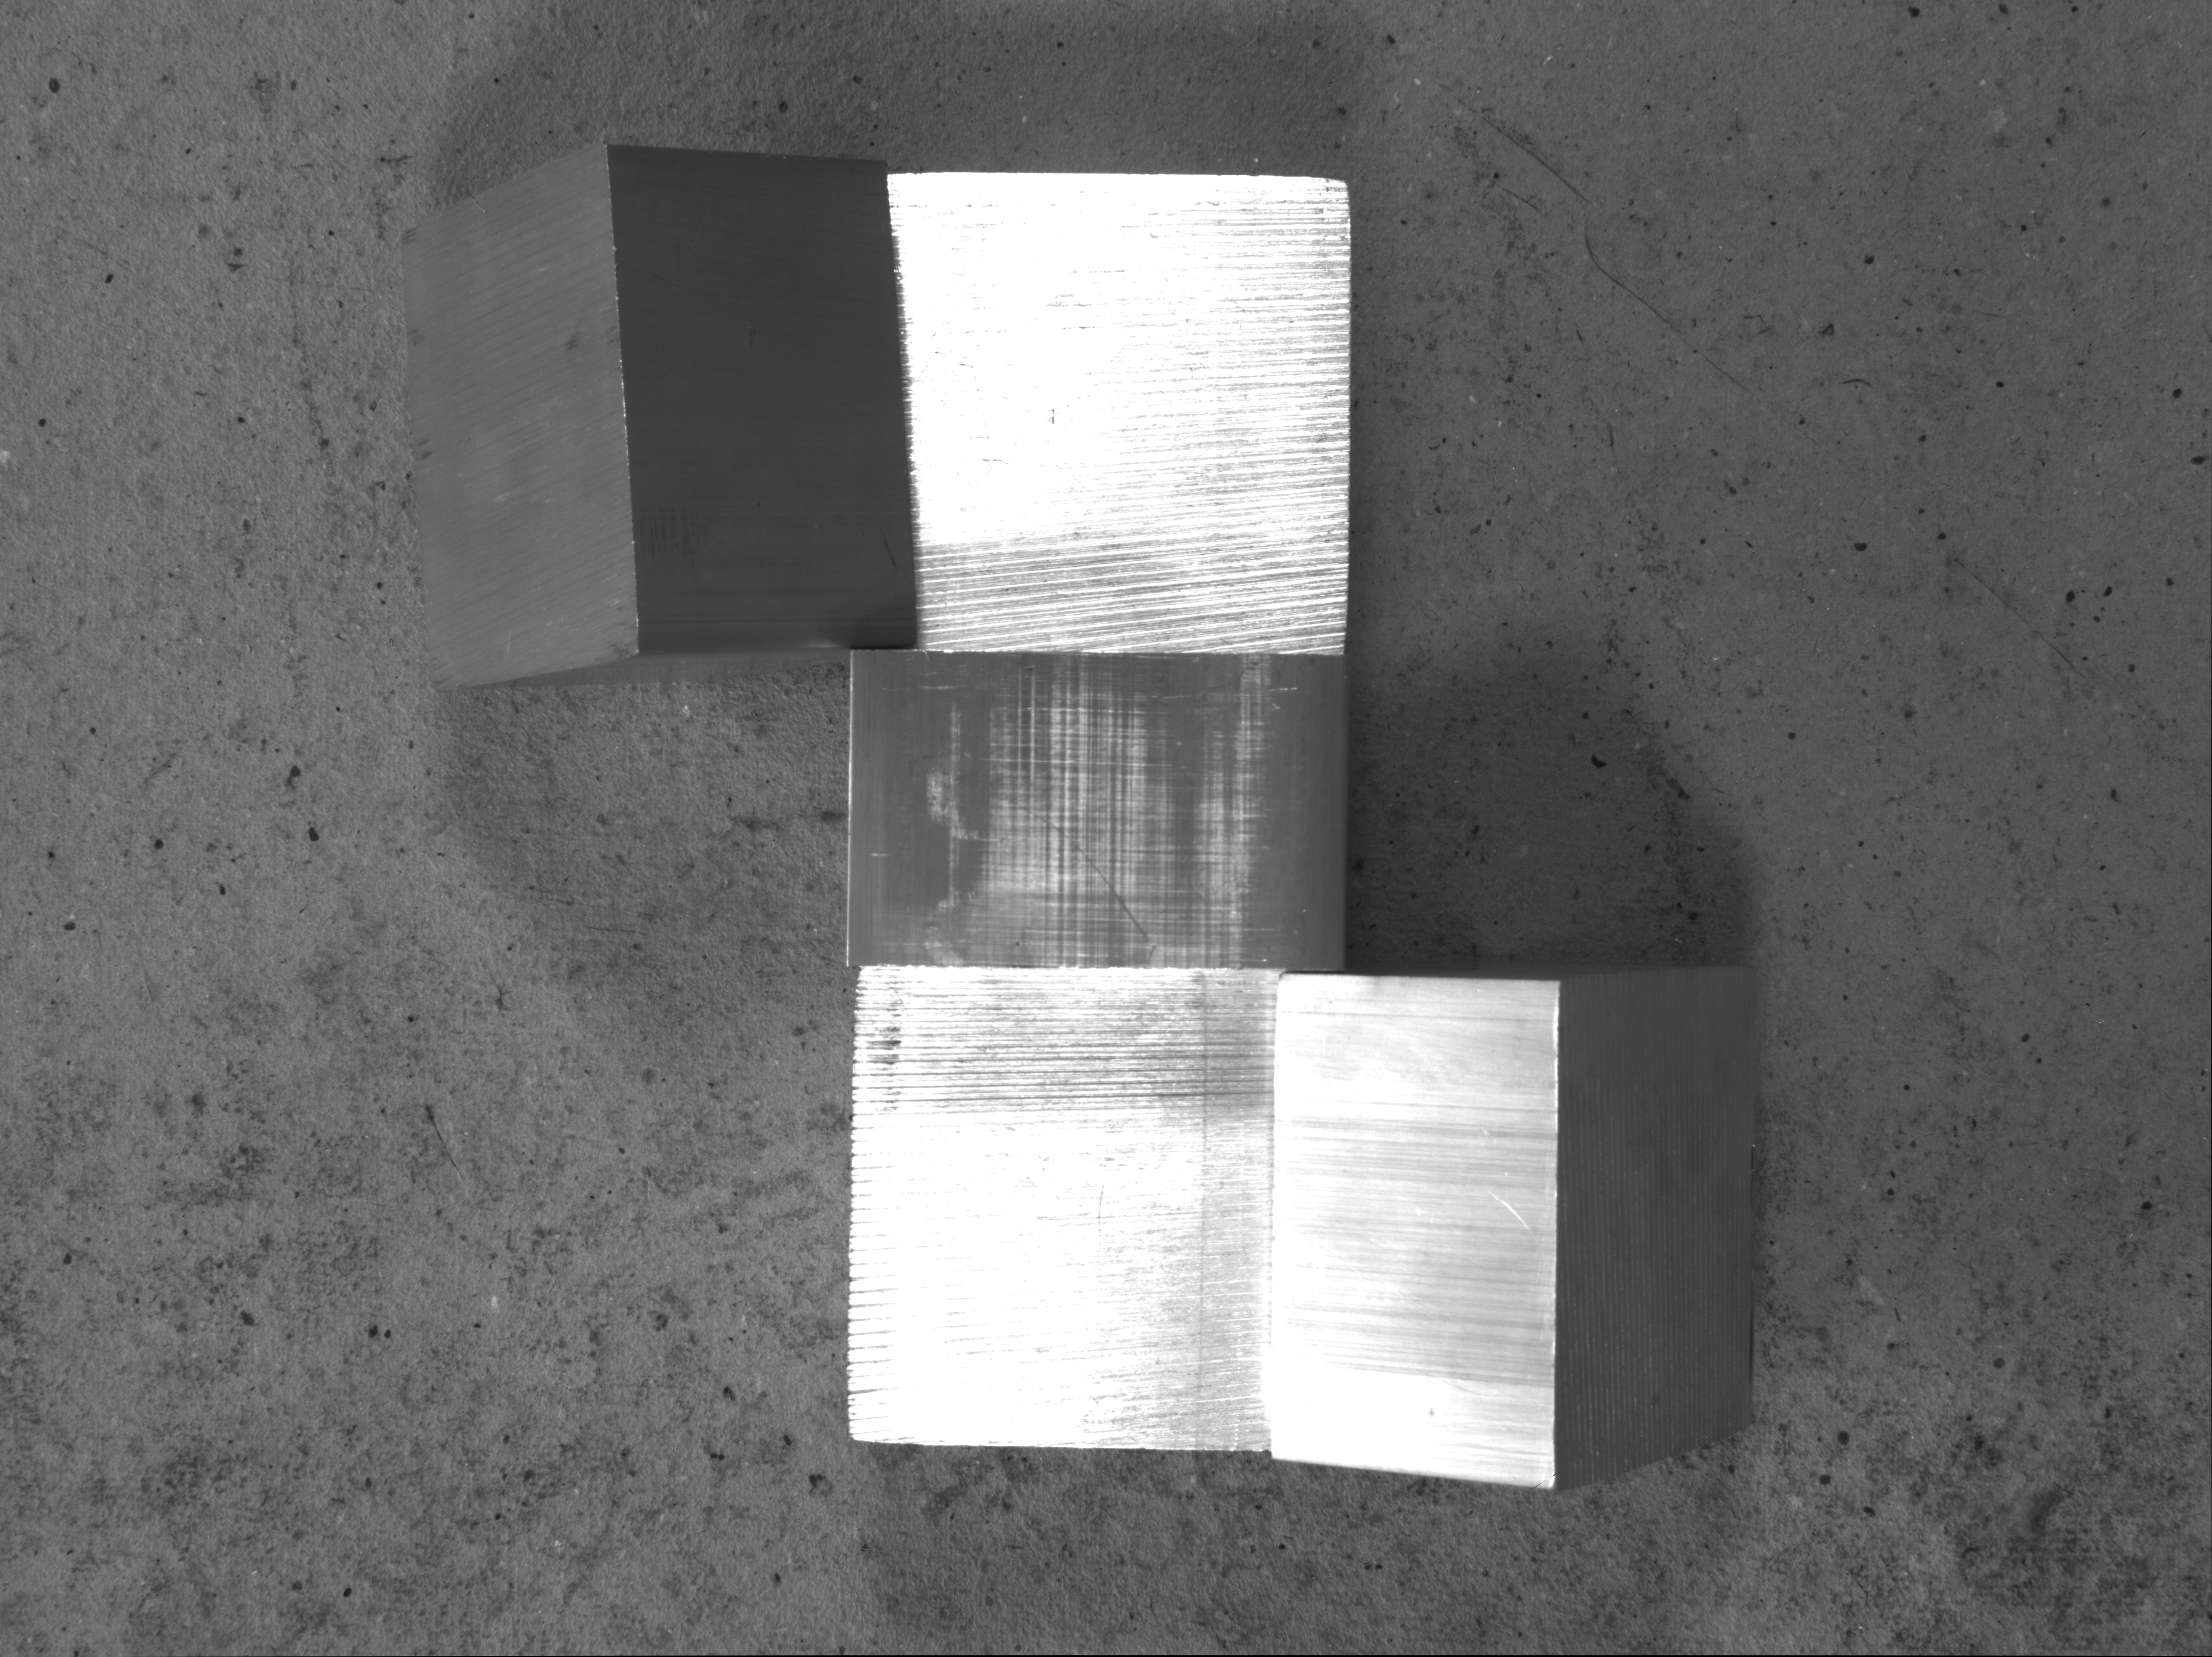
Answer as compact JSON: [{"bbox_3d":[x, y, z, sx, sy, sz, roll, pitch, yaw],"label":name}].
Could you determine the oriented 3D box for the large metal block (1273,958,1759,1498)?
[{"bbox_3d":[0.070,0.063,0.611,0.050,0.080,0.080,0,90,32],"label":"large metal block"}]

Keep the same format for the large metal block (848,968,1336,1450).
[{"bbox_3d":[-0.002,0.062,0.633,0.080,0.050,0.080,1,91,0],"label":"large metal block"}]

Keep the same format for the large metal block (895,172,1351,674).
[{"bbox_3d":[0.000,-0.068,0.631,0.080,0.050,0.080,1,89,0],"label":"large metal block"}]

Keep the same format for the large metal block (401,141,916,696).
[{"bbox_3d":[-0.076,-0.065,0.611,0.050,0.080,0.080,-3,90,-34],"label":"large metal block"}]

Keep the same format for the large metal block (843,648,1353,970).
[{"bbox_3d":[-0.001,-0.003,0.618,0.080,0.080,0.050,0,90,0],"label":"large metal block"}]
